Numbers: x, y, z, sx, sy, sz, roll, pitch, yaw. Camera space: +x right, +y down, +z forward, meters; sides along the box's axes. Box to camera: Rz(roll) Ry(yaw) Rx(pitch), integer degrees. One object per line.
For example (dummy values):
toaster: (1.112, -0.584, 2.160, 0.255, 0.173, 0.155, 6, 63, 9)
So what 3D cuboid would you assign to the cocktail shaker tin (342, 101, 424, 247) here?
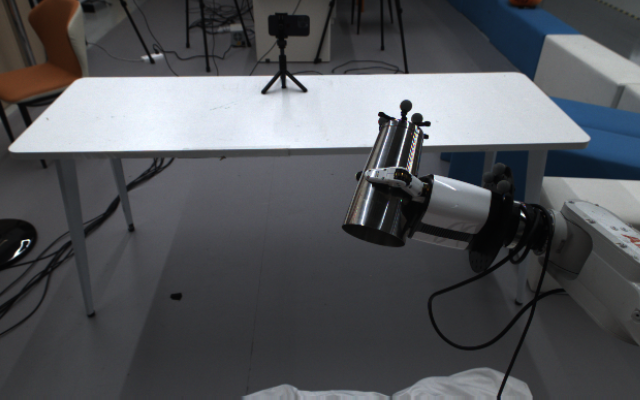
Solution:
cocktail shaker tin: (0.099, -0.028, 0.703, 0.093, 0.093, 0.170, 14, 74, 16)
